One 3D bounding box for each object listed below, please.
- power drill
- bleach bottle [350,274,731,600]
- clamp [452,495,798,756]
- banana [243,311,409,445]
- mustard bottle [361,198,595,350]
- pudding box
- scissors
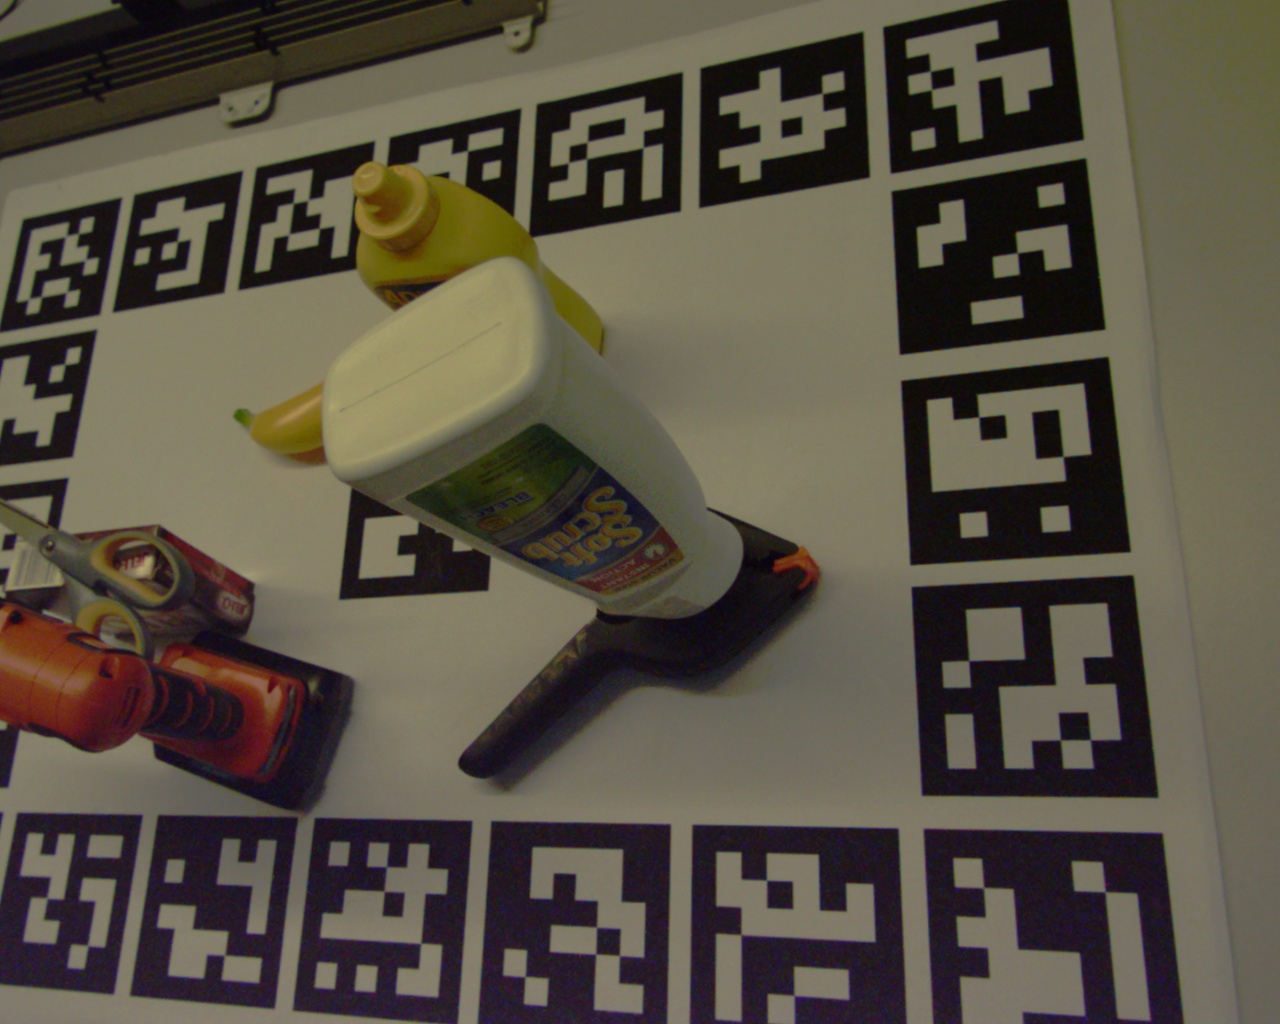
[{"bbox_3d":[-0.288,0.097,0.614,0.187,0.185,0.057,8,69,26],"label":"power drill"},{"bbox_3d":[-0.016,-0.010,0.526,0.103,0.247,0.068,-26,61,19],"label":"bleach bottle"},{"bbox_3d":[-0.015,0.039,0.626,0.204,0.036,0.166,-12,71,16],"label":"clamp"},{"bbox_3d":[-0.182,-0.105,0.747,0.197,0.038,0.075,-43,47,4],"label":"banana"},{"bbox_3d":[-0.101,-0.120,0.648,0.097,0.189,0.058,9,76,22],"label":"mustard bottle"},{"bbox_3d":[-0.317,0.045,0.728,0.115,0.089,0.039,-1,66,20],"label":"pudding box"},{"bbox_3d":[-0.346,0.020,0.677,0.205,0.016,0.087,21,85,21],"label":"scissors"}]
